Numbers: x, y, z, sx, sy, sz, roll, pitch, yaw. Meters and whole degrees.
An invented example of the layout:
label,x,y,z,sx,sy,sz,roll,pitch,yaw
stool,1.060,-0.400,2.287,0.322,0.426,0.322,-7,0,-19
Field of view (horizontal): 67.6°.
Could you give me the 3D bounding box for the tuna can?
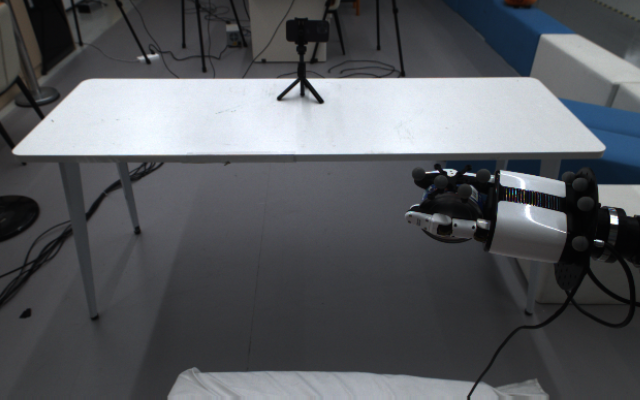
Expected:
label,x,y,z,sx,sy,sz,roll,pitch,yaw
tuna can,0.177,0.014,0.650,0.085,0.085,0.034,12,39,13
